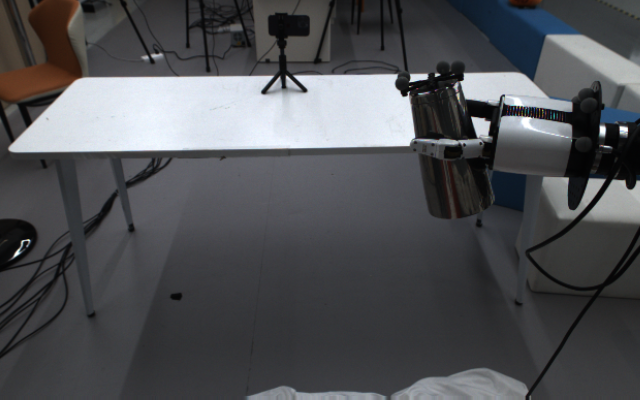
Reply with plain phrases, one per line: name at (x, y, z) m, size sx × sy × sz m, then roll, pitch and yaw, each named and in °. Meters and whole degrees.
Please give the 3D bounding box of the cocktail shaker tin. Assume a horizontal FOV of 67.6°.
cocktail shaker tin at (0.173, -0.071, 0.652) m, size 0.093 × 0.170 × 0.093 m, roll -17°, pitch 20°, yaw 7°
